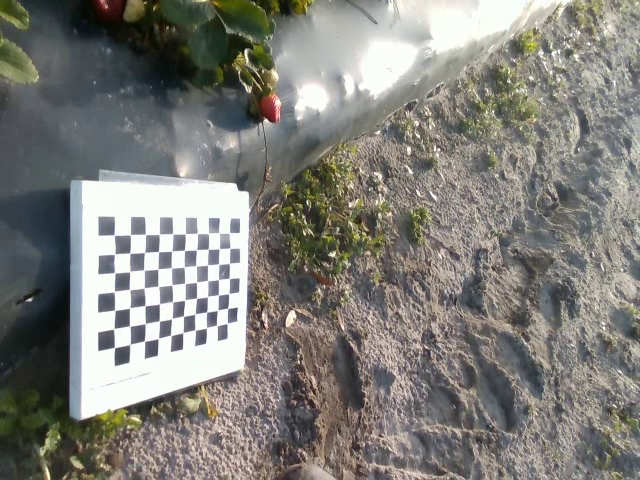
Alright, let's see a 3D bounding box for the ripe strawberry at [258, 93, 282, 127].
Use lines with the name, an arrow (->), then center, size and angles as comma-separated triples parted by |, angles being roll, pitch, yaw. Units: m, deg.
ripe strawberry -> -0.075, -0.218, 0.979 | 0.034, 0.050, 0.047 | -3, 21, 36
